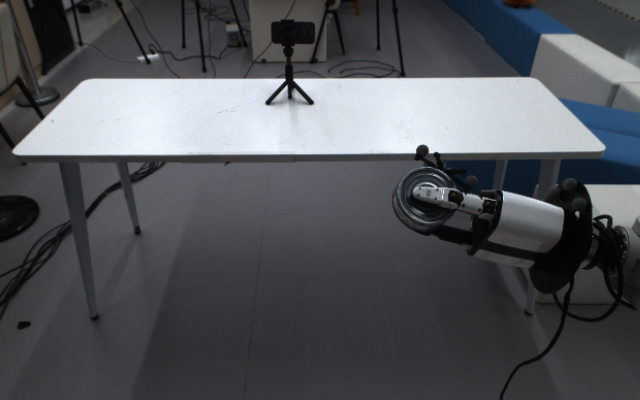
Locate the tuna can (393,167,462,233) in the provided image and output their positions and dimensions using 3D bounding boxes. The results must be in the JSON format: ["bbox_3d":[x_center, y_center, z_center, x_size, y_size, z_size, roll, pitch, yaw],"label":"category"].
[{"bbox_3d":[0.148,0.005,0.663,0.085,0.034,0.085,0,74,0],"label":"tuna can"}]
